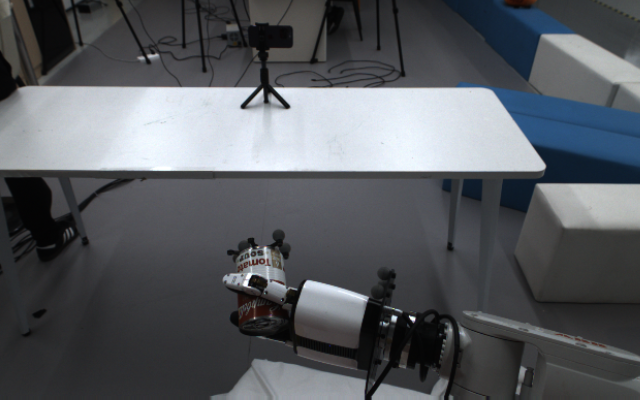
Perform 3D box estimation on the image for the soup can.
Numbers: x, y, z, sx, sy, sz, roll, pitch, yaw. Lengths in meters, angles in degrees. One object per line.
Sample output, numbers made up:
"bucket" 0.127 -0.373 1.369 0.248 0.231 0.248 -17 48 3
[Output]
"soup can" -0.076 0.122 0.646 0.067 0.067 0.101 -4 57 -9
